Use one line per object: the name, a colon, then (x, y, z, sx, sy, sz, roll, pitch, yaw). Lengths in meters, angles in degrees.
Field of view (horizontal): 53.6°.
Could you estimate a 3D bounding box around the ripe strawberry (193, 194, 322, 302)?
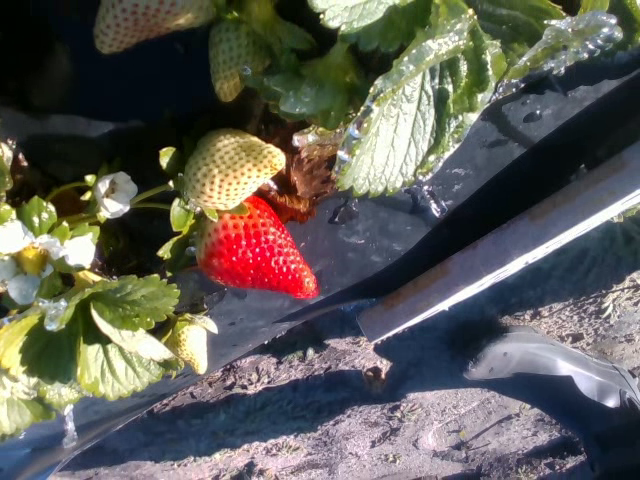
ripe strawberry: (-0.021, 0.007, 0.234, 0.053, 0.042, 0.040, 34, -32, 2)
